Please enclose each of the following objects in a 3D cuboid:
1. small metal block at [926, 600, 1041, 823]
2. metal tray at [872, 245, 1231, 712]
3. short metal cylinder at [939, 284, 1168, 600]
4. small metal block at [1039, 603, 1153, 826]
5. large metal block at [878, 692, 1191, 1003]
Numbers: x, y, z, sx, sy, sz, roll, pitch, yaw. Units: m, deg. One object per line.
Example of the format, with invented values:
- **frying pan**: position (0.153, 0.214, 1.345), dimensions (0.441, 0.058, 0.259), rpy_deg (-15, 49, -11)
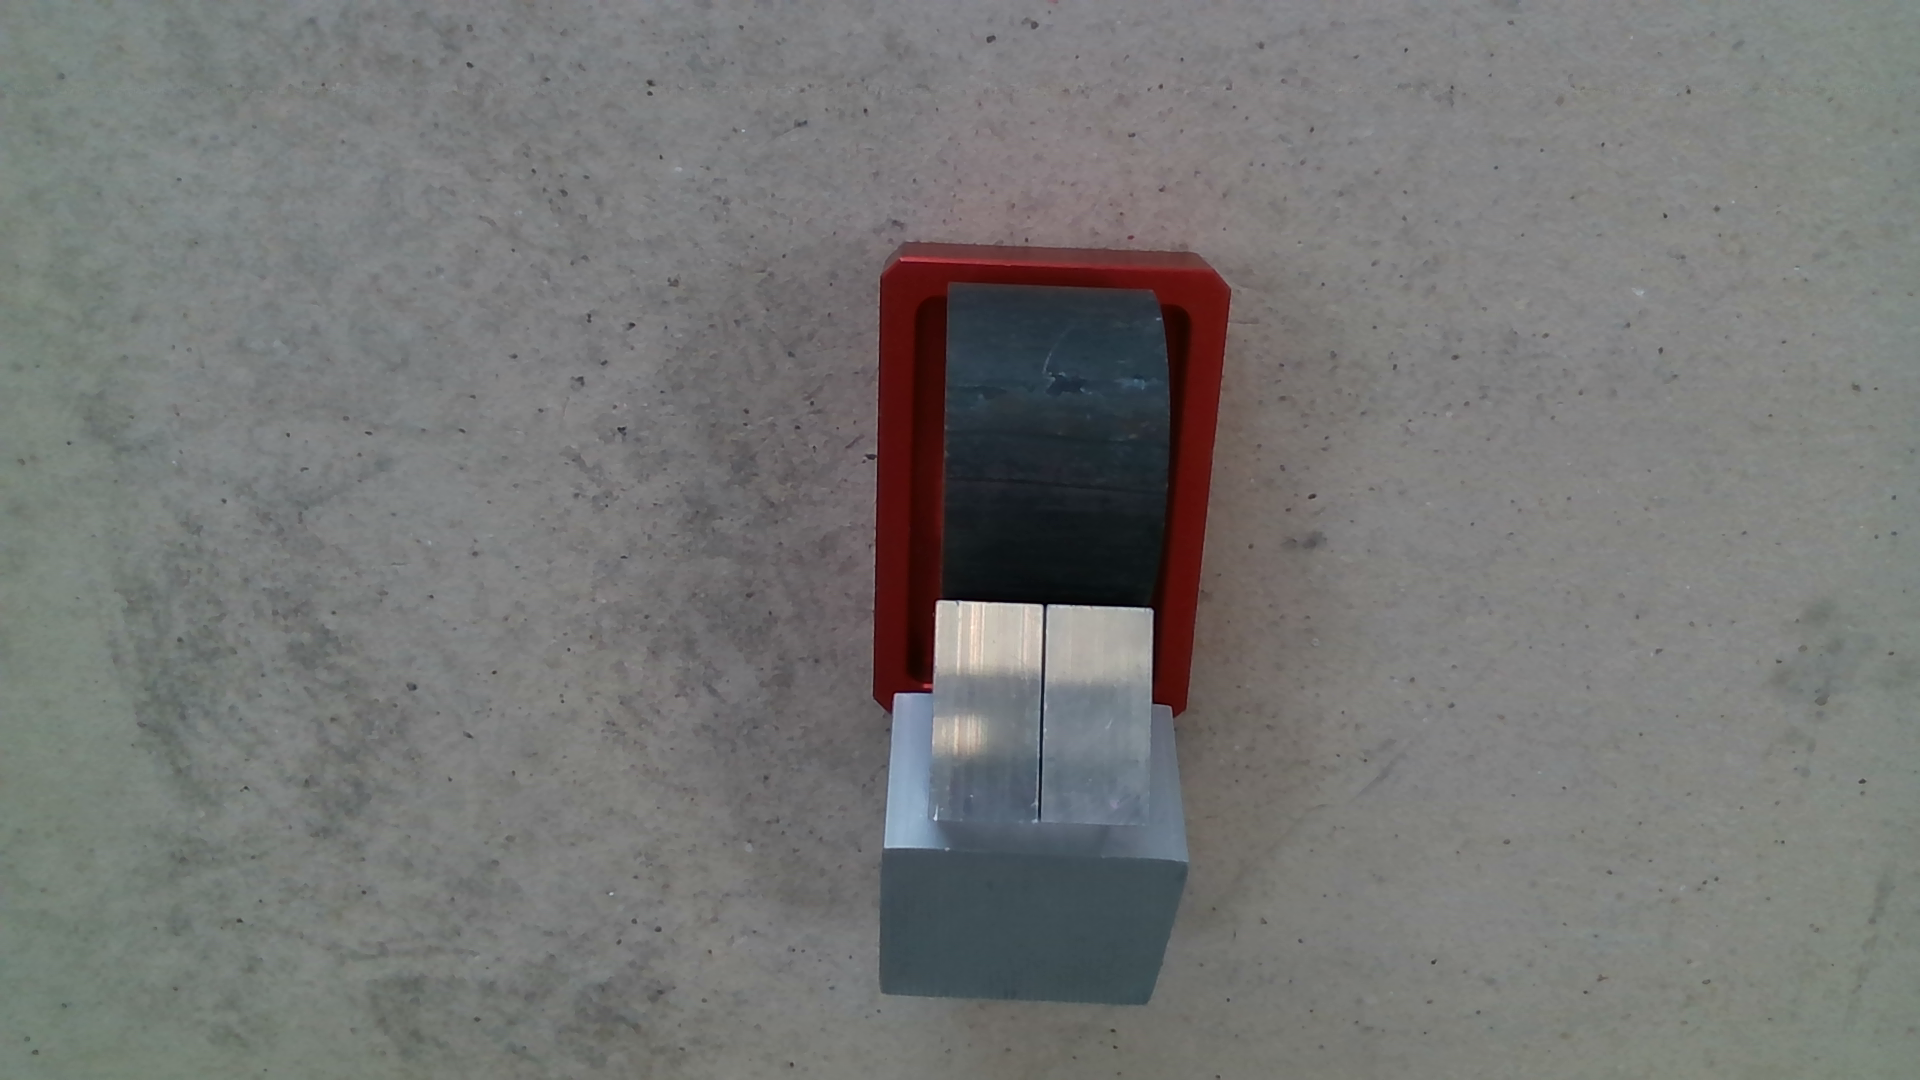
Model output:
- **small metal block**: position (0.005, 0.042, 0.339), dimensions (0.025, 0.050, 0.050), rpy_deg (2, 84, -2)
- **metal tray**: position (0.022, -0.014, 0.385), dimensions (0.090, 0.030, 0.130), rpy_deg (2, 110, -1)
- **short metal cylinder**: position (0.020, -0.023, 0.342), dimensions (0.050, 0.080, 0.080), rpy_deg (1, 110, 0)
- **small metal block**: position (0.031, 0.043, 0.340), dimensions (0.025, 0.050, 0.050), rpy_deg (2, 84, -2)
- **large metal block**: position (0.018, 0.090, 0.398), dimensions (0.080, 0.050, 0.080), rpy_deg (3, 136, -1)
